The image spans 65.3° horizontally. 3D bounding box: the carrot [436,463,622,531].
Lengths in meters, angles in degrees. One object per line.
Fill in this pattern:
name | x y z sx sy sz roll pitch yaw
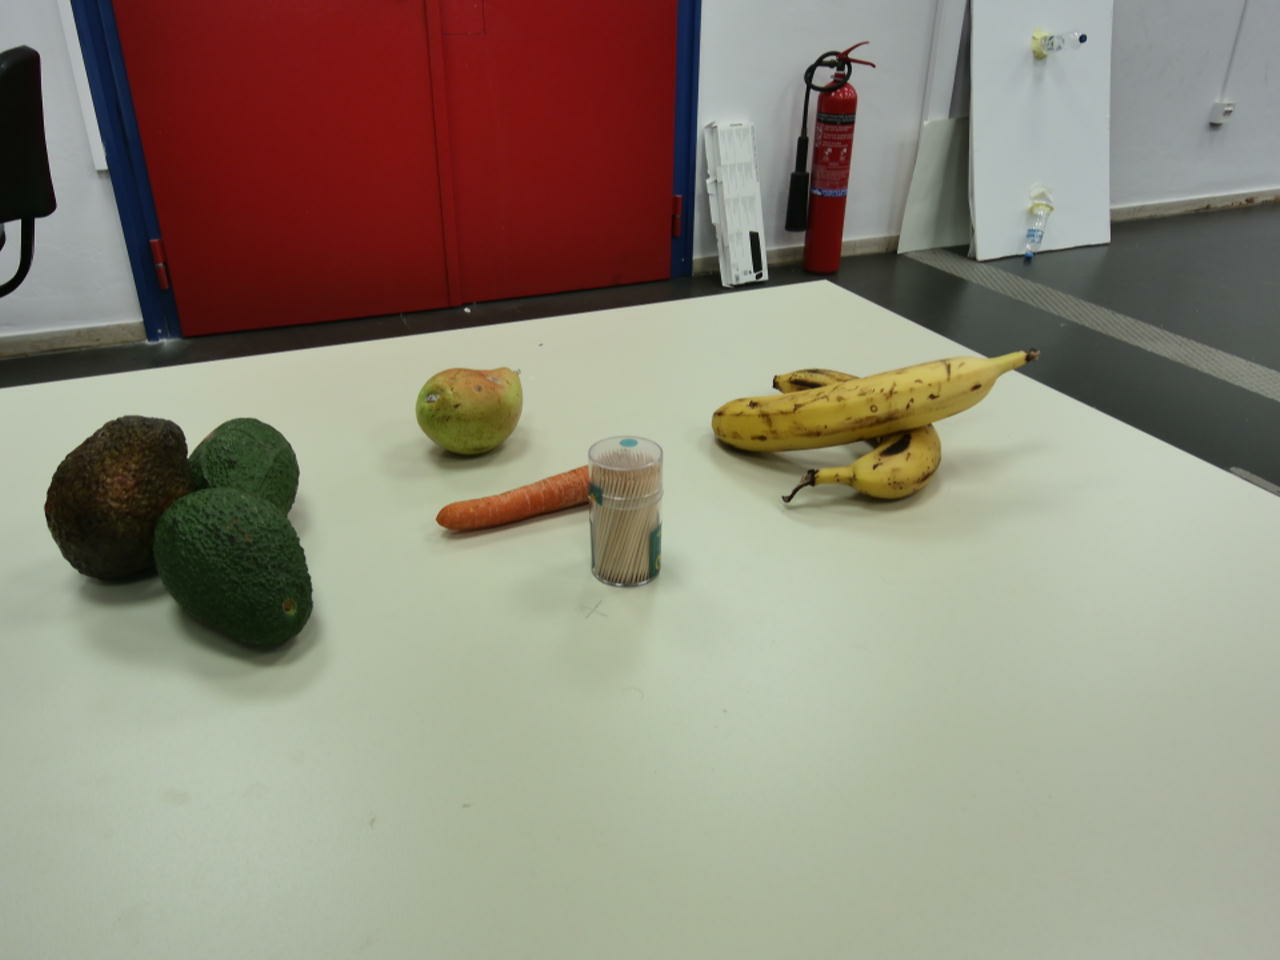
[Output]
carrot | -0.066 0.010 0.621 0.122 0.023 0.024 -13 29 -24
